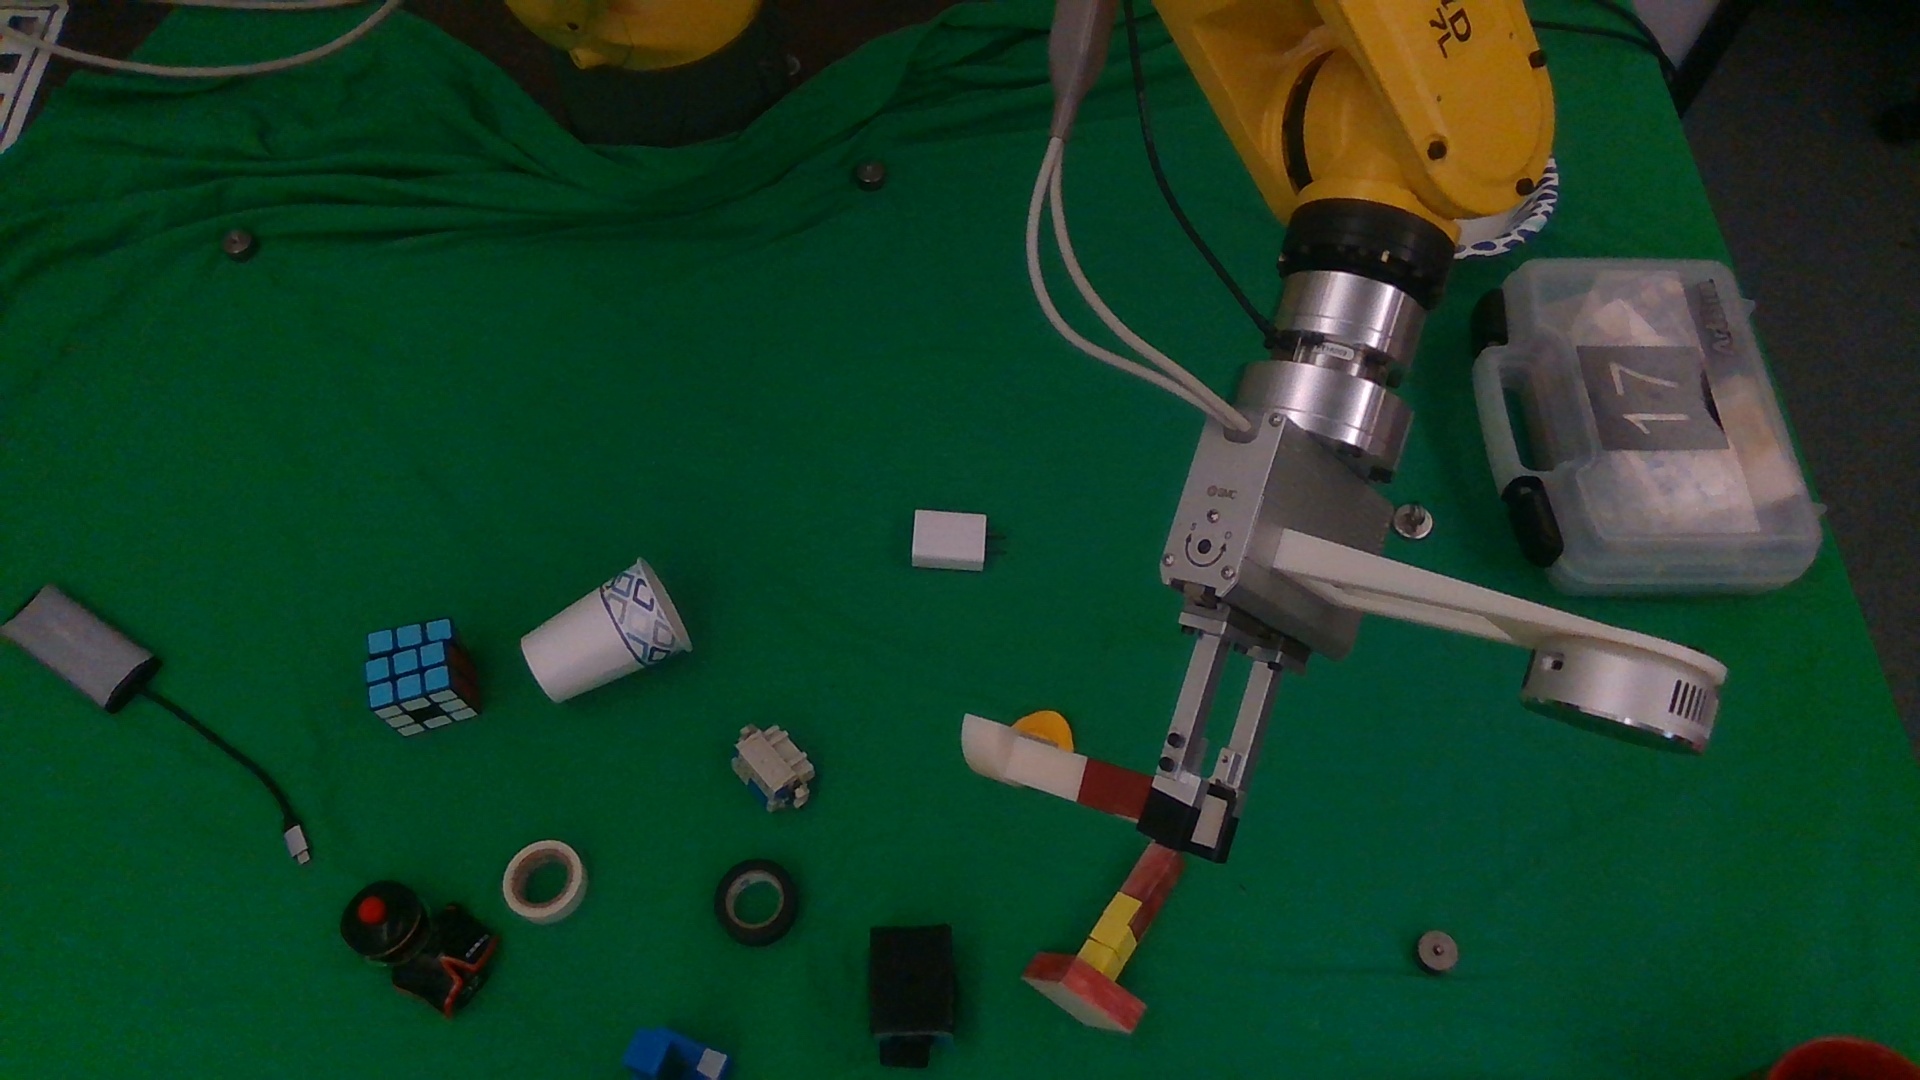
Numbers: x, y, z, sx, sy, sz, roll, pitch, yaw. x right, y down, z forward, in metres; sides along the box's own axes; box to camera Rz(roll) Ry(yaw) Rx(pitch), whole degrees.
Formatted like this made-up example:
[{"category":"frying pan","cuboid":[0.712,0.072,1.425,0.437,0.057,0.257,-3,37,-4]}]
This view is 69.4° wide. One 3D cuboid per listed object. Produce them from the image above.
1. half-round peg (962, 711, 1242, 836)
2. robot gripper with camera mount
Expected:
[{"category":"half-round peg","cuboid":[0.061,0.100,0.595,0.122,0.054,0.031,9,82,39]},{"category":"robot gripper with camera mount","cuboid":[0.175,0.061,0.522,0.194,0.118,0.158,12,81,41]}]
